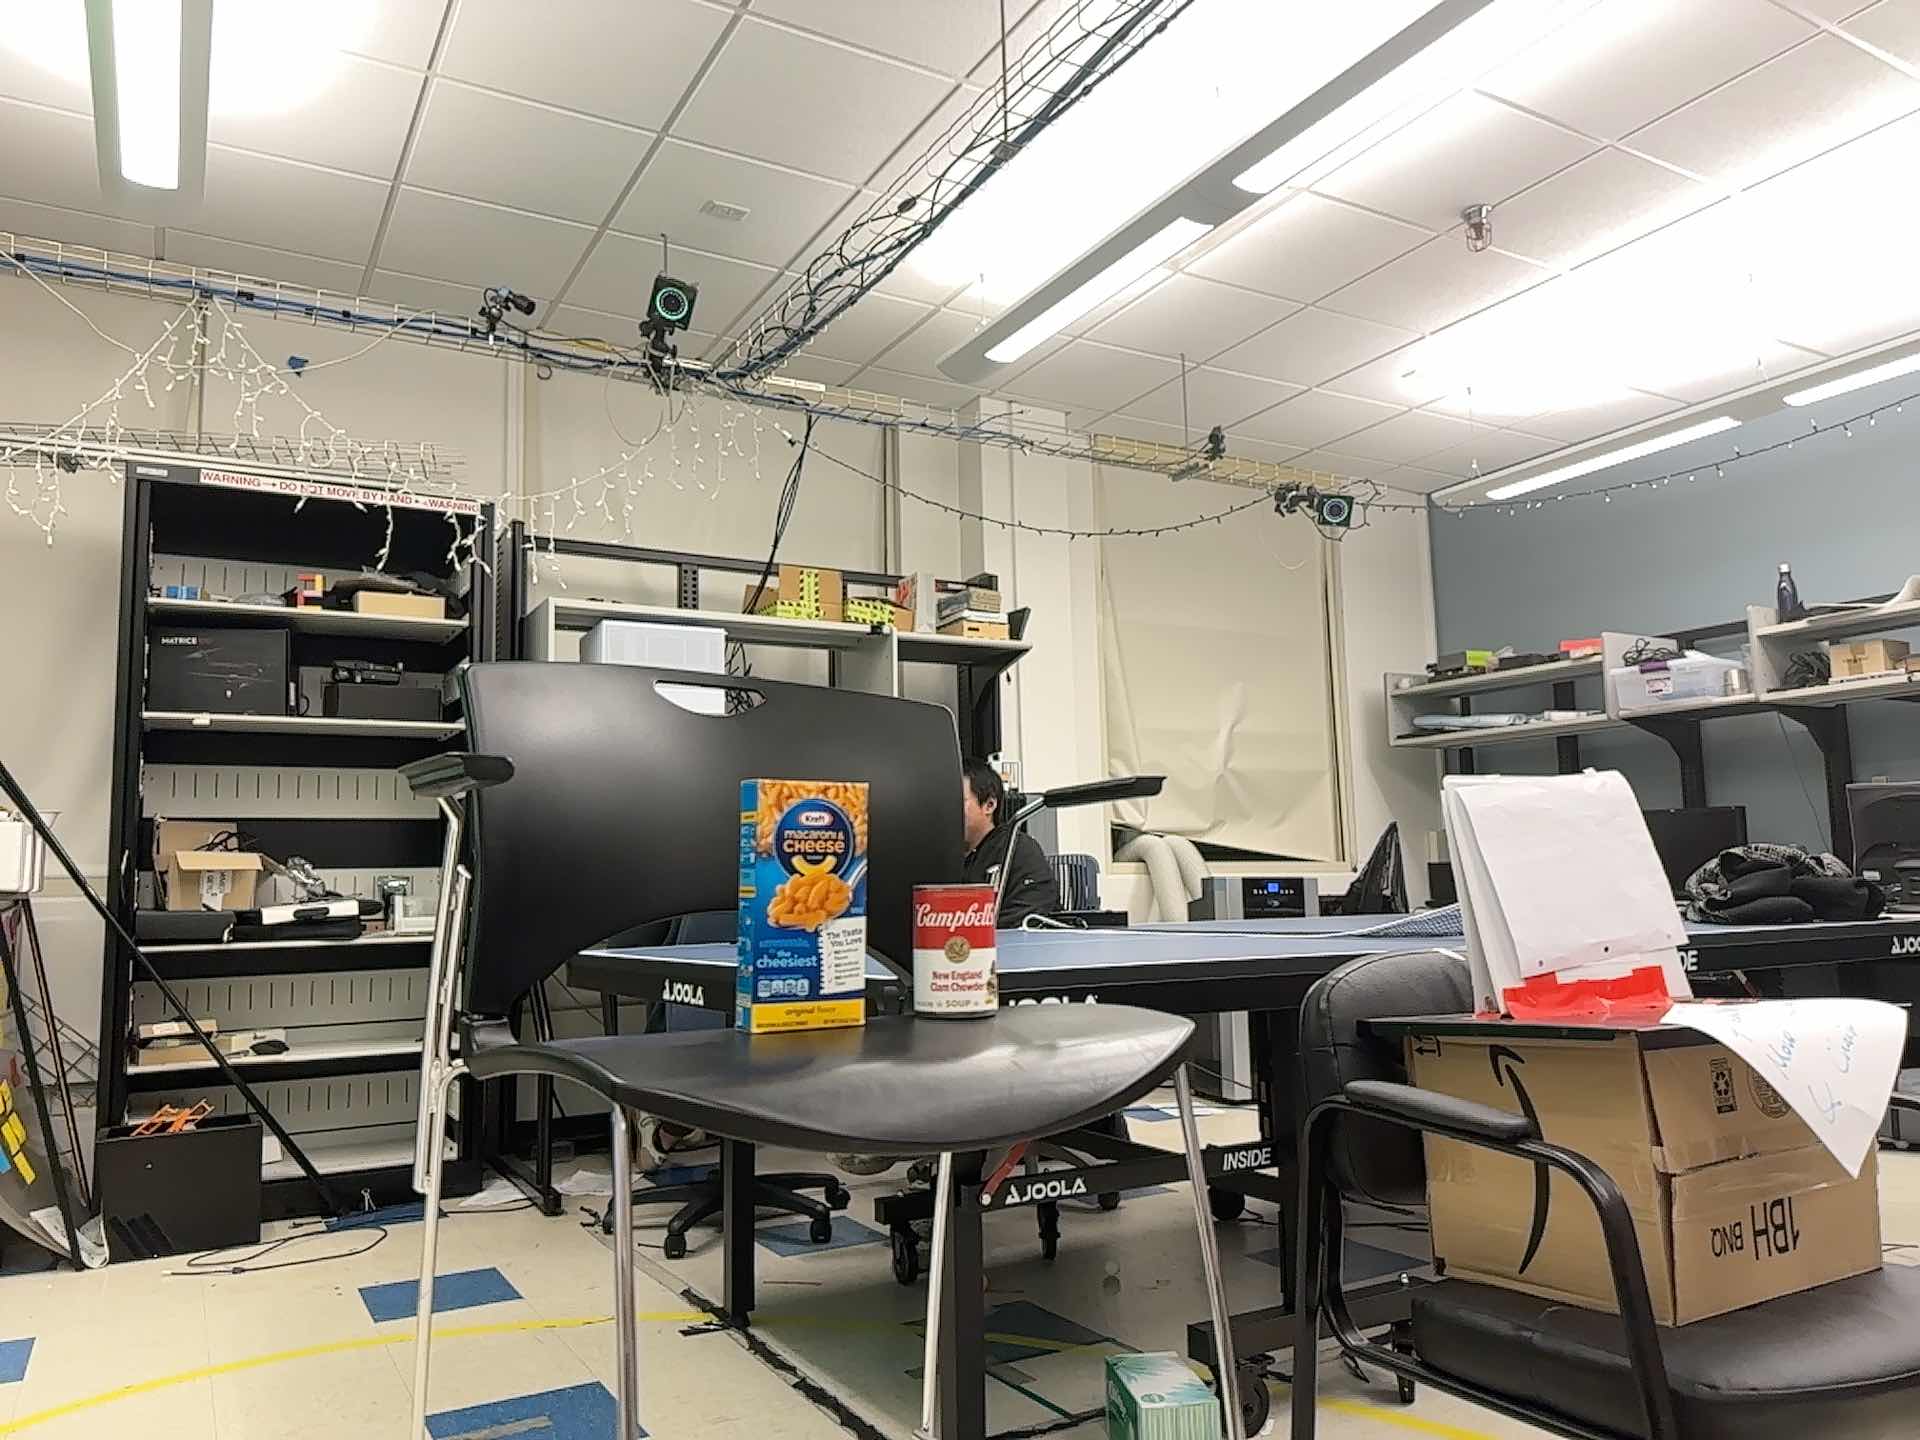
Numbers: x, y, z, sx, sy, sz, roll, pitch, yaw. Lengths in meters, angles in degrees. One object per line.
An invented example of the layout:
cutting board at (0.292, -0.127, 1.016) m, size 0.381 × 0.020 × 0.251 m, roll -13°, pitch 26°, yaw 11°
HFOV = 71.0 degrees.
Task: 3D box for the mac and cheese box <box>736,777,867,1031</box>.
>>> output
mac and cheese box at (-0.119, 0.136, 1.012) m, size 0.088 × 0.181 × 0.035 m, roll 2°, pitch -7°, yaw -24°

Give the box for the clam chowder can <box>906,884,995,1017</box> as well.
clam chowder can at (-0.008, 0.185, 1.086) m, size 0.068 × 0.102 × 0.068 m, roll -2°, pitch -8°, yaw 0°
